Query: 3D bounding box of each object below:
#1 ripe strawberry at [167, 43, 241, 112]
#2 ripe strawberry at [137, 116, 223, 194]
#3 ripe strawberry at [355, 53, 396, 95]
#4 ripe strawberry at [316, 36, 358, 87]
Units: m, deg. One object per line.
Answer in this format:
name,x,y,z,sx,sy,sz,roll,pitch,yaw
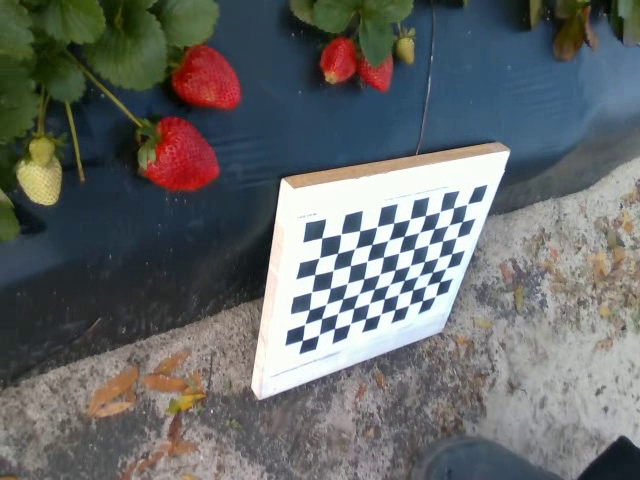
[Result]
ripe strawberry,-0.090,-0.128,0.528,0.060,0.050,0.051,35,21,-1
ripe strawberry,-0.111,-0.066,0.525,0.065,0.058,0.043,28,20,-32
ripe strawberry,0.055,-0.157,0.605,0.044,0.049,0.041,-16,-19,-28
ripe strawberry,0.014,-0.158,0.588,0.039,0.053,0.047,17,-35,19
